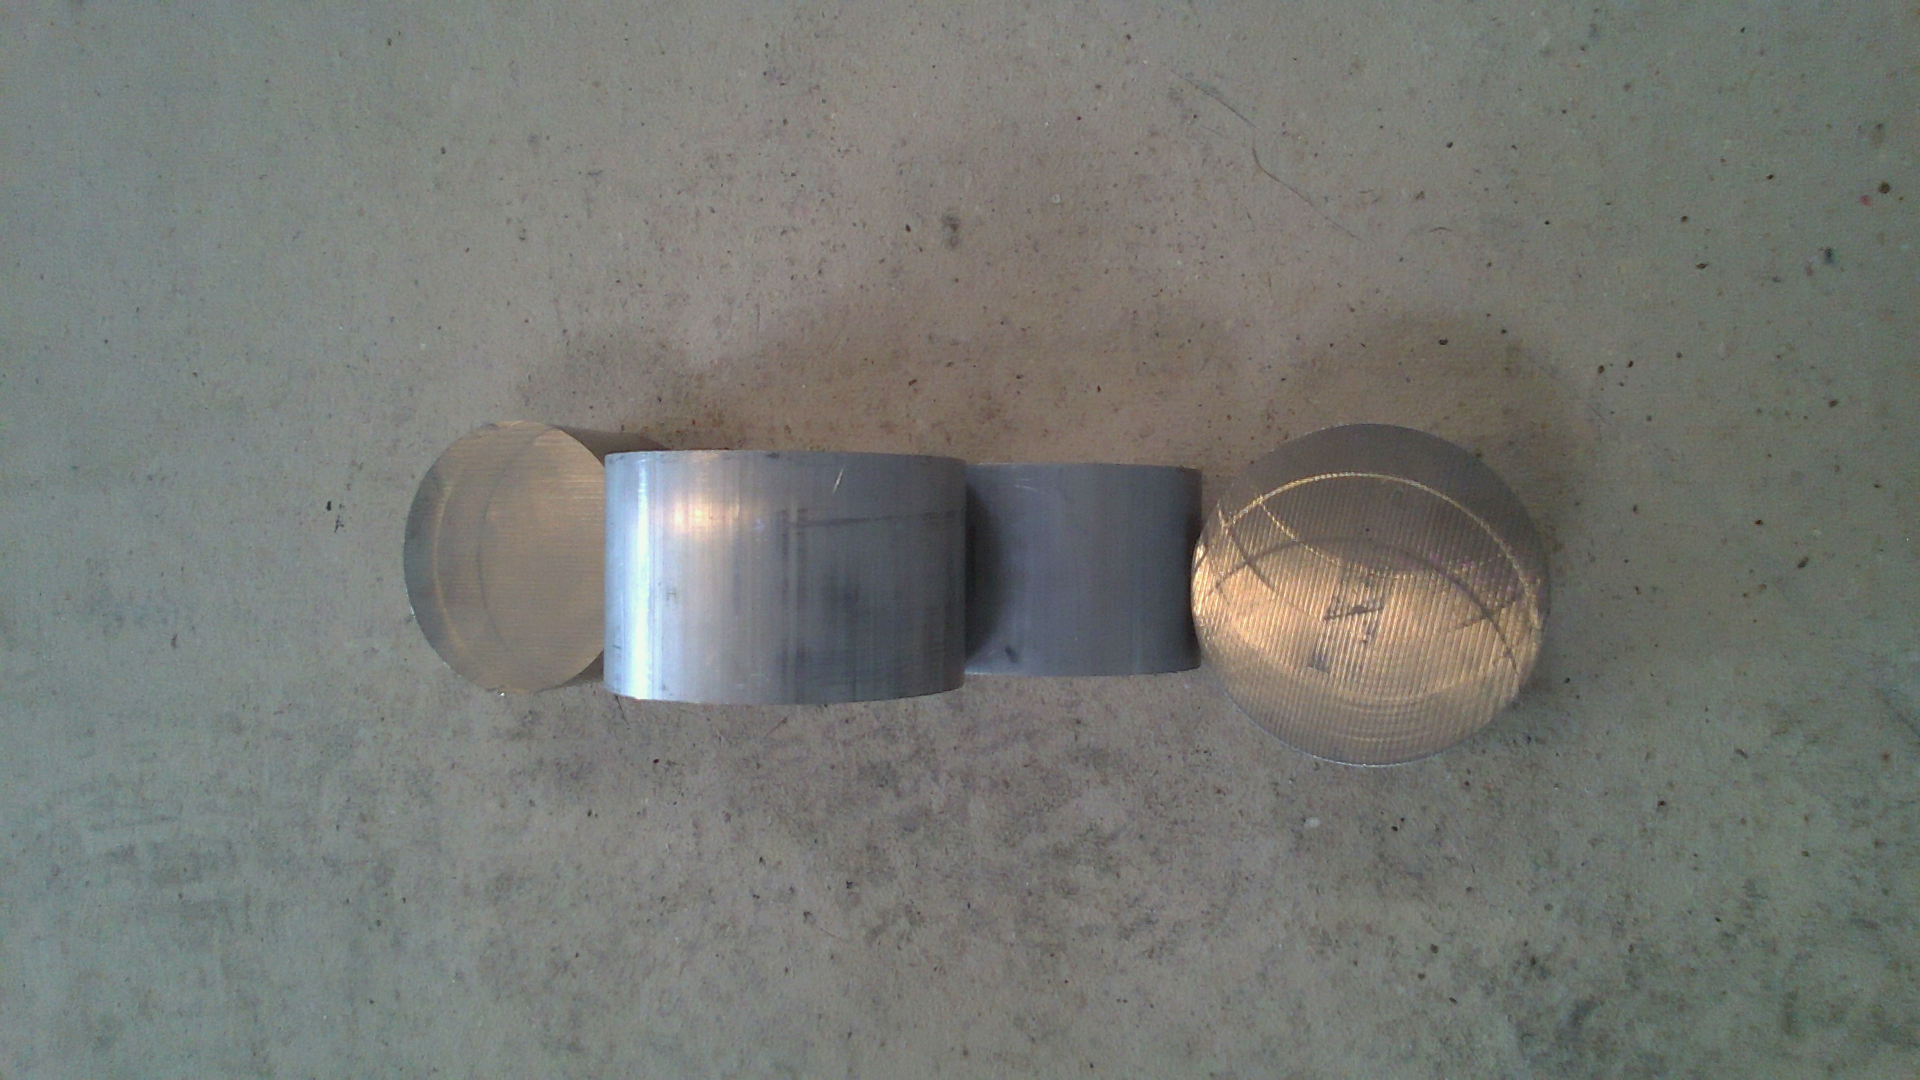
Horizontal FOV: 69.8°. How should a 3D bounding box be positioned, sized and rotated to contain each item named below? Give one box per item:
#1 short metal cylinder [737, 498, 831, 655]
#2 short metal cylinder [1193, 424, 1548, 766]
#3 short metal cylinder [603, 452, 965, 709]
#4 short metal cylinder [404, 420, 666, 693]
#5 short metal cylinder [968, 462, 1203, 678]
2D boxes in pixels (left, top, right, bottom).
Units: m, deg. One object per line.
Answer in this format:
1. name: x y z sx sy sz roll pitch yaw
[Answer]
1. short metal cylinder: -0.052 0.006 0.386 0.080 0.080 0.050 0 90 20
2. short metal cylinder: 0.103 0.013 0.345 0.080 0.050 0.080 0 91 20
3. short metal cylinder: -0.039 0.007 0.307 0.080 0.080 0.050 1 91 20
4. short metal cylinder: -0.122 0.005 0.427 0.080 0.050 0.080 0 90 20
5. short metal cylinder: 0.023 0.007 0.359 0.080 0.080 0.050 0 89 20
